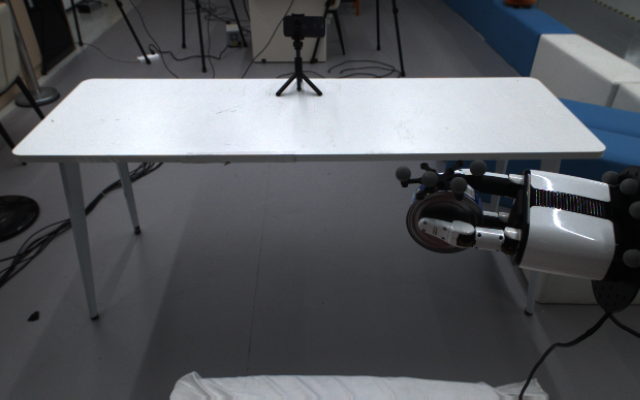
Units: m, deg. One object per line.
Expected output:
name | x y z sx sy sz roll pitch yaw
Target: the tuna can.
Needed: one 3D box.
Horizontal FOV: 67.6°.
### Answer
tuna can | 0.146 0.016 0.559 0.085 0.085 0.034 10 33 11
